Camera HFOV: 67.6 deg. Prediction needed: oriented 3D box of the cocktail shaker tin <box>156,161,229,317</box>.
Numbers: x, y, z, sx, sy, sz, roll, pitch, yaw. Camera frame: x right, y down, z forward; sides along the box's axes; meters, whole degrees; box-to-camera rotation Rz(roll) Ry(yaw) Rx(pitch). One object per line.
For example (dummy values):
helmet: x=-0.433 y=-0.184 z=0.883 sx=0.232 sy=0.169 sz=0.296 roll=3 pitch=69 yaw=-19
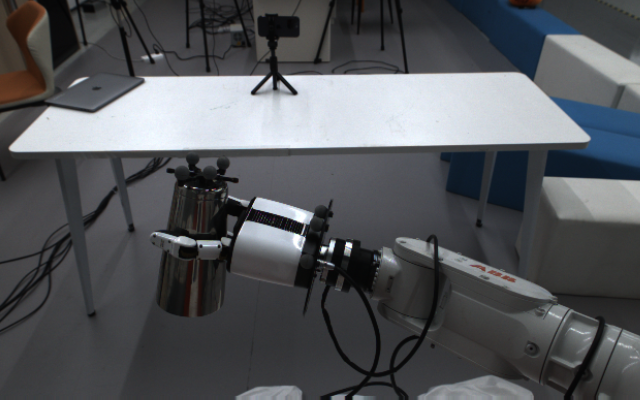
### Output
cocktail shaker tin: x=-0.162 y=0.056 z=0.638 sx=0.093 sy=0.170 sz=0.093 roll=10 pitch=19 yaw=-3
